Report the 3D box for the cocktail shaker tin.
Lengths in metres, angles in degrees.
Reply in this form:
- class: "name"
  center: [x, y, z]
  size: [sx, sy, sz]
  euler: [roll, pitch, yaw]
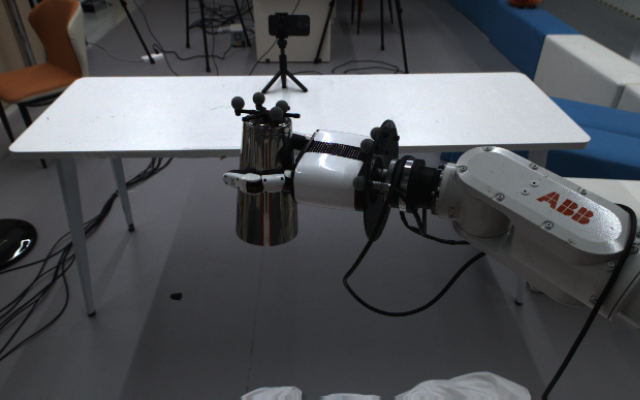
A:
- class: "cocktail shaker tin"
  center: [-0.074, -0.032, 0.682]
  size: [0.093, 0.170, 0.093]
  euler: [2, 26, -1]
